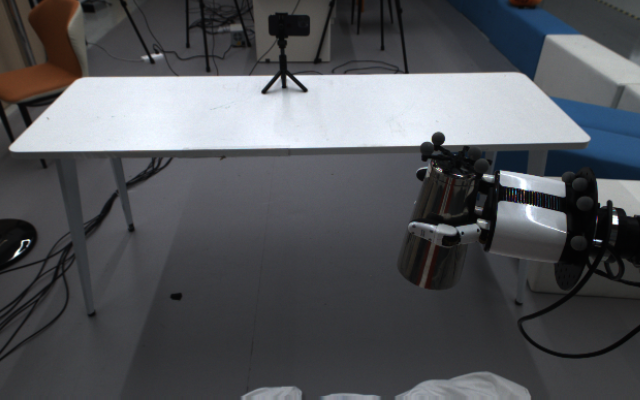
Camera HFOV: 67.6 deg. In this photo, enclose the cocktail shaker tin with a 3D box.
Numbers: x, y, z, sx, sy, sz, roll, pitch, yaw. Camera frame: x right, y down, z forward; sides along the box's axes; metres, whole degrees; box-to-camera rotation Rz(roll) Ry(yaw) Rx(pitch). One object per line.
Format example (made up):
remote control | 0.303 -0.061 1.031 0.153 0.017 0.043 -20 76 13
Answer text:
cocktail shaker tin | 0.165 0.026 0.657 0.093 0.170 0.093 4 32 -2
